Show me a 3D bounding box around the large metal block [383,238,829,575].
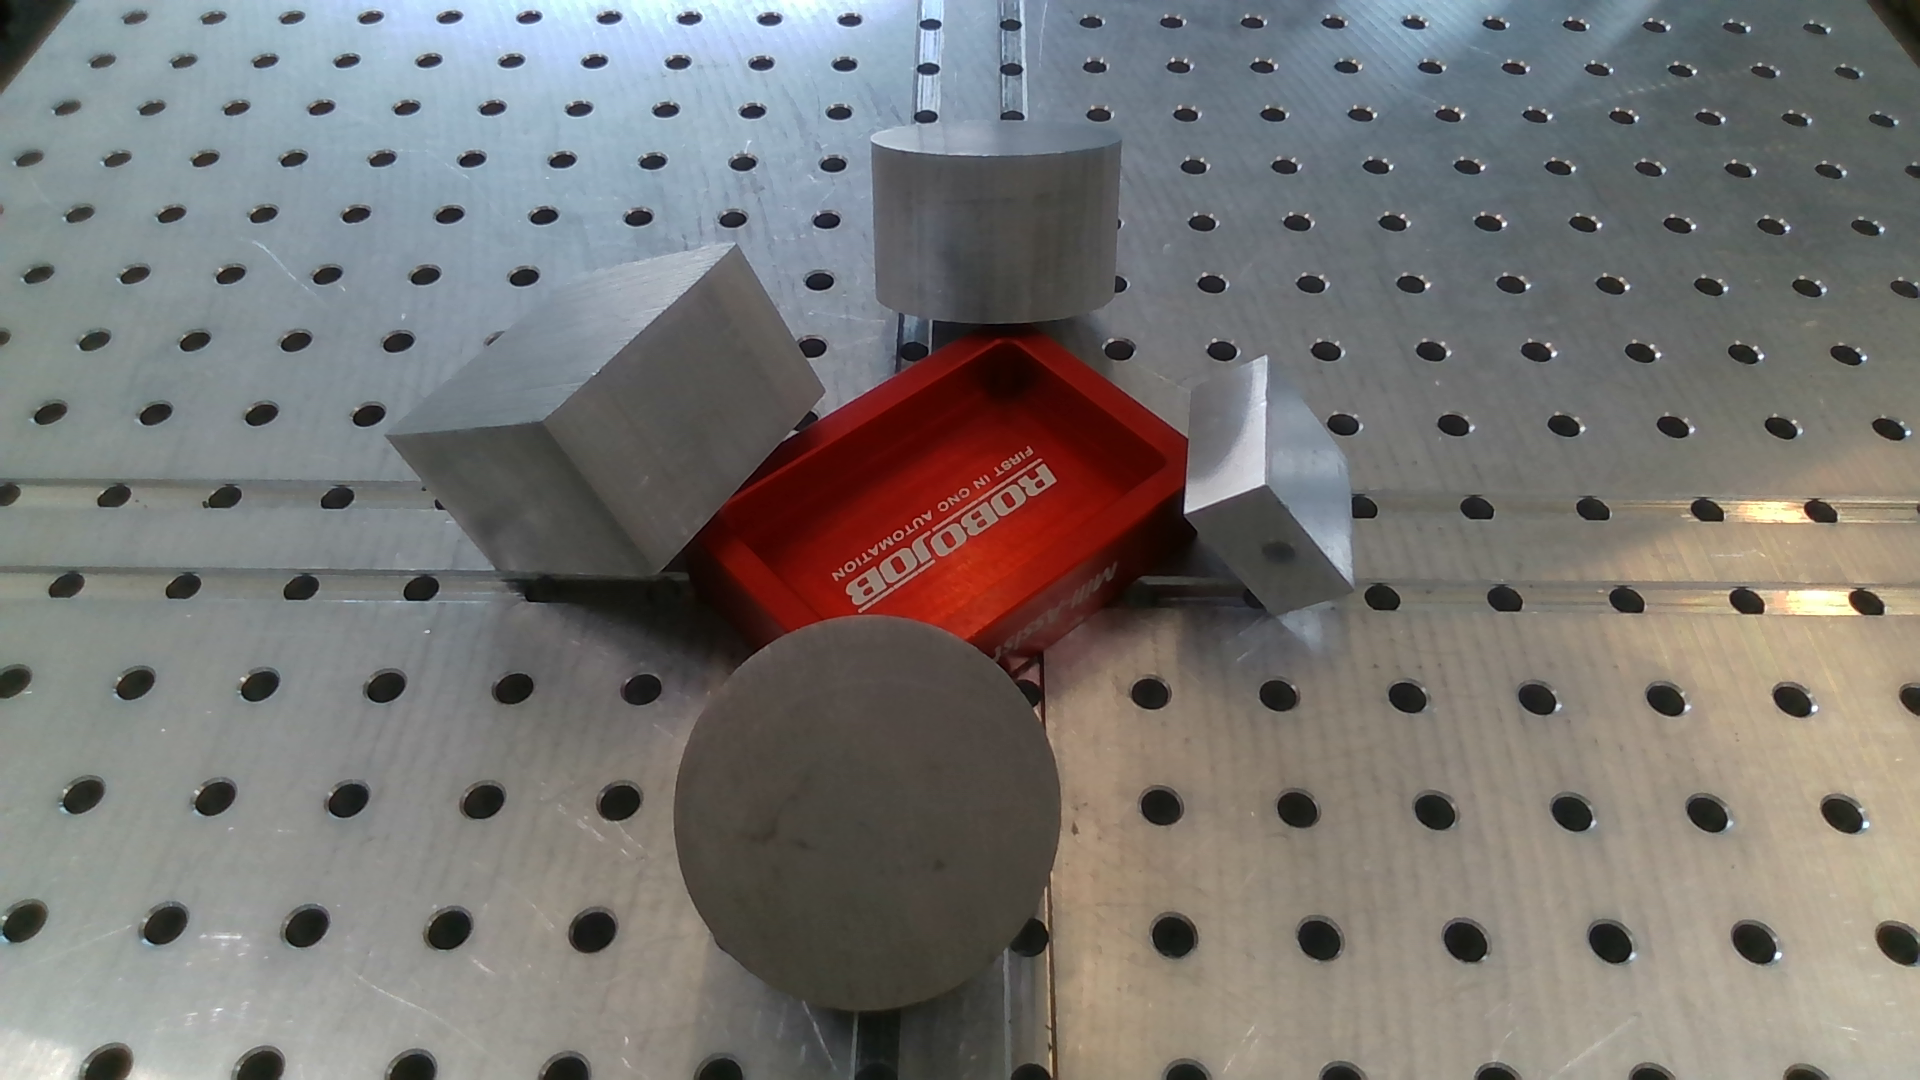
[{"bbox_3d":[-0.099,-0.037,0.389,0.080,0.050,0.080,1,42,42],"label":"large metal block"}]

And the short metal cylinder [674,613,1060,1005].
[{"bbox_3d":[-0.019,0.061,0.310,0.080,0.050,0.080,0,77,0],"label":"short metal cylinder"}]

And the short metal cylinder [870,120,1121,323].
[{"bbox_3d":[0.011,-0.106,0.450,0.080,0.050,0.080,0,24,0],"label":"short metal cylinder"}]

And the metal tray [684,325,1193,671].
[{"bbox_3d":[-0.003,-0.006,0.398,0.130,0.030,0.090,-34,58,-25],"label":"metal tray"}]

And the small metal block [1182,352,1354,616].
[{"bbox_3d":[0.088,-0.016,0.390,0.025,0.050,0.050,-21,41,33],"label":"small metal block"}]
